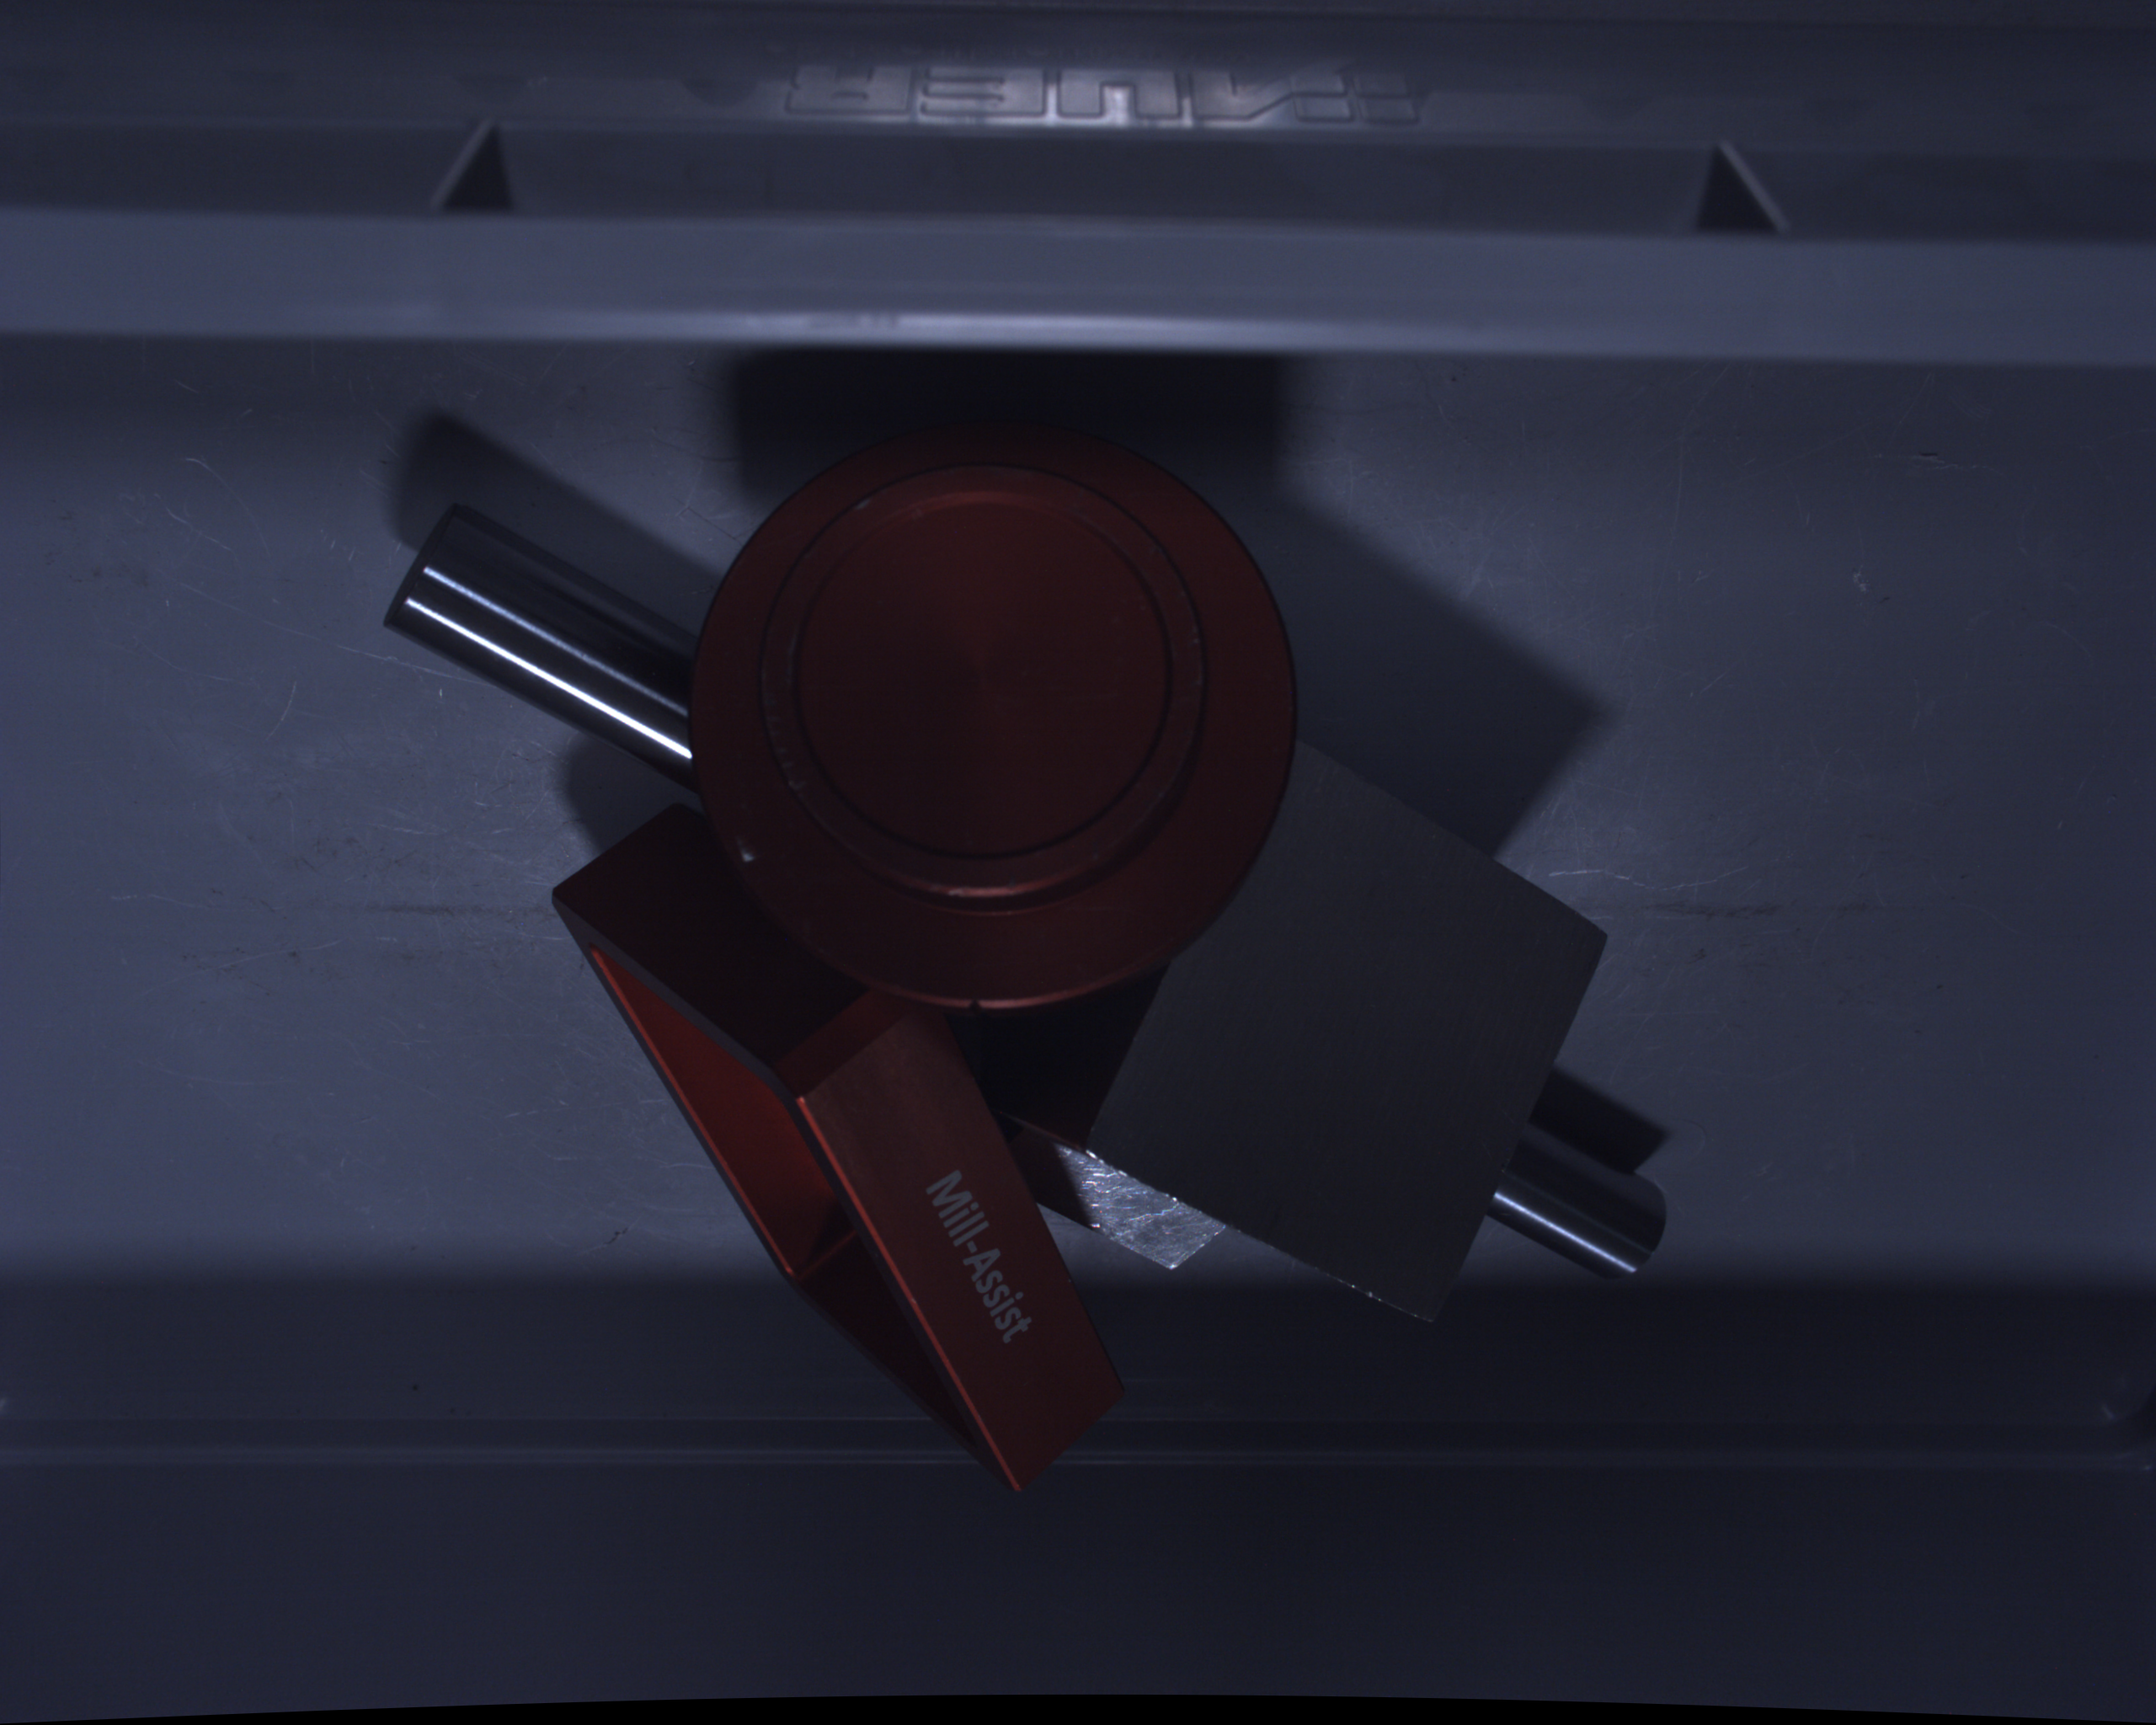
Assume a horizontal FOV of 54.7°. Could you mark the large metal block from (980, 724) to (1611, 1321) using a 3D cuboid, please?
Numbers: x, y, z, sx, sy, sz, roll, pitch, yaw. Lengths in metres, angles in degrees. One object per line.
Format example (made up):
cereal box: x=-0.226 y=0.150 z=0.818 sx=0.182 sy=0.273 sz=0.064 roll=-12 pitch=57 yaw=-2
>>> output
large metal block: x=0.039 y=0.028 z=0.389 sx=0.080 sy=0.050 sz=0.080 roll=30 pitch=81 yaw=-23

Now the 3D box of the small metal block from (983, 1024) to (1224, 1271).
small metal block: x=0.008 y=0.049 z=0.432 sx=0.050 sy=0.050 sz=0.025 roll=31 pitch=123 yaw=-24

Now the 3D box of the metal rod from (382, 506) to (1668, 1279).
metal rod: x=0.006 y=0.016 z=0.421 sx=0.301 sy=0.025 sz=0.025 roll=29 pitch=124 yaw=-23

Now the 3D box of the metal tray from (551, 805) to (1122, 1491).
metal tray: x=-0.046 y=0.058 z=0.415 sx=0.030 sy=0.090 sz=0.129 roll=-39 pitch=132 yaw=-21

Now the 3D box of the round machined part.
round machined part: x=-0.014 y=-0.025 z=0.335 sx=0.099 sy=0.097 sz=0.042 roll=-1 pitch=171 yaw=0
